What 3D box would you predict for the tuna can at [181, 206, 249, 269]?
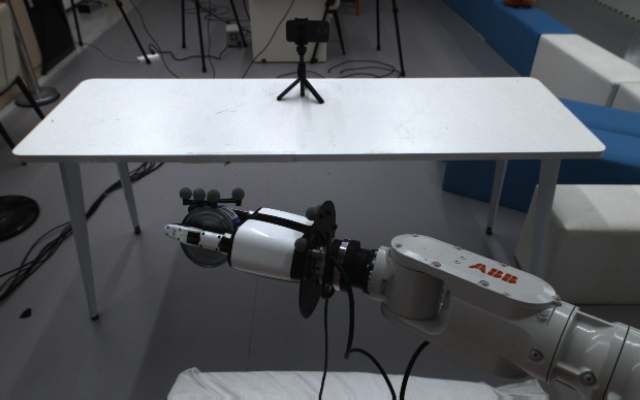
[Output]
[{"bbox_3d":[-0.149,0.051,0.677,0.085,0.085,0.034,11,7,13],"label":"tuna can"}]
